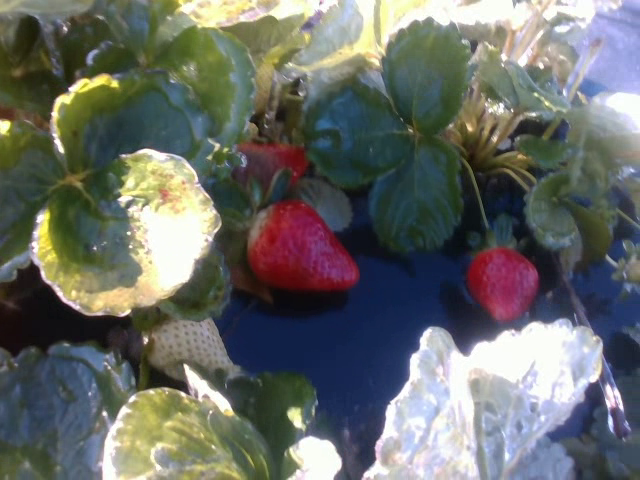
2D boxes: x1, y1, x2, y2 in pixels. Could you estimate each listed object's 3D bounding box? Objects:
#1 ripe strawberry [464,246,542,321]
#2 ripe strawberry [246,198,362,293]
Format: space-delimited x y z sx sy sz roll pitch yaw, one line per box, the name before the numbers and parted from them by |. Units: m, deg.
ripe strawberry | 0.089 0.023 0.282 0.039 0.047 0.040 26 -37 -14
ripe strawberry | -0.002 0.005 0.264 0.056 0.044 0.040 36 -28 -9
